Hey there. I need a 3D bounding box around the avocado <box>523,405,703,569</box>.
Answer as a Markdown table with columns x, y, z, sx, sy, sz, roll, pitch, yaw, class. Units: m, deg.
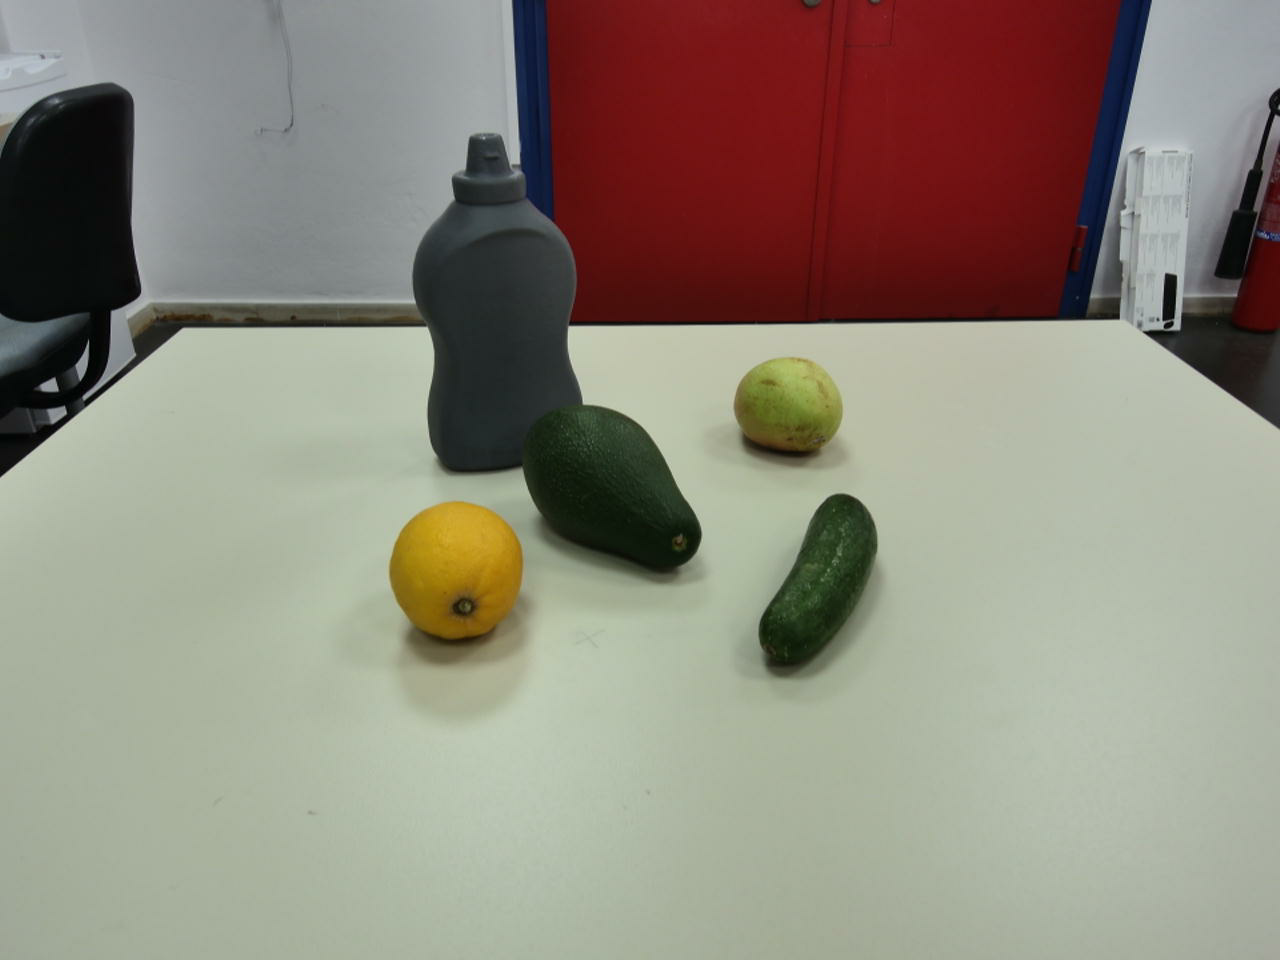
| x | y | z | sx | sy | sz | roll | pitch | yaw | class |
| --- | --- | --- | --- | --- | --- | --- | --- | --- | --- |
| -0.018 | 0.002 | 0.519 | 0.072 | 0.071 | 0.109 | -12 | 28 | -21 | avocado |
